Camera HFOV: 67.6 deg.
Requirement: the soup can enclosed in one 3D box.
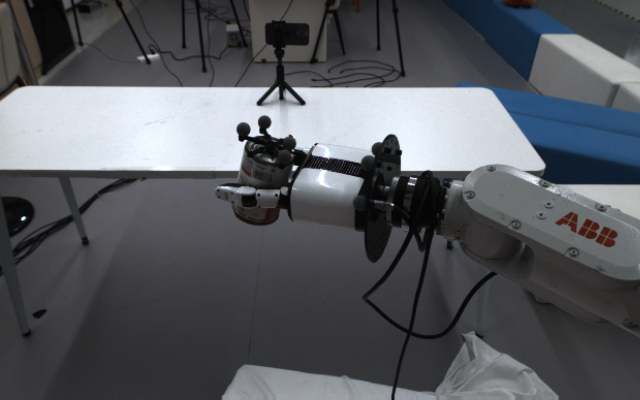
[{"bbox_3d":[-0.076,-0.023,0.646,0.067,0.101,0.067,13,34,-9],"label":"soup can"}]
